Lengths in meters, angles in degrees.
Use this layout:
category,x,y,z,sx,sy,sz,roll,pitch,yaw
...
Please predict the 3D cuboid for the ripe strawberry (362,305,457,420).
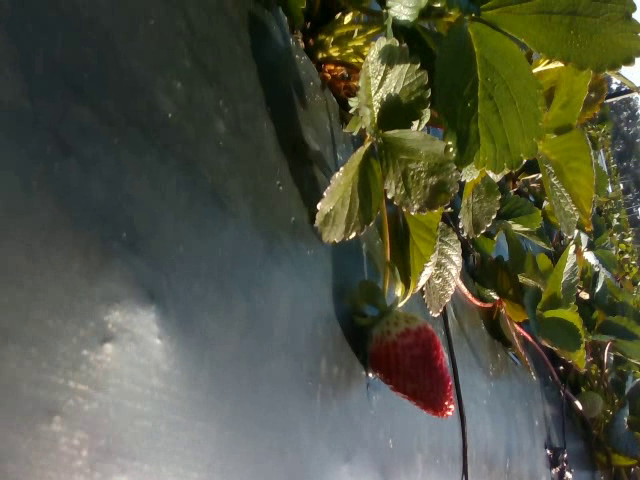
category,x,y,z,sx,sy,sz,roll,pitch,yaw
ripe strawberry,0.030,0.041,0.188,0.028,0.041,0.031,-2,-43,-45
